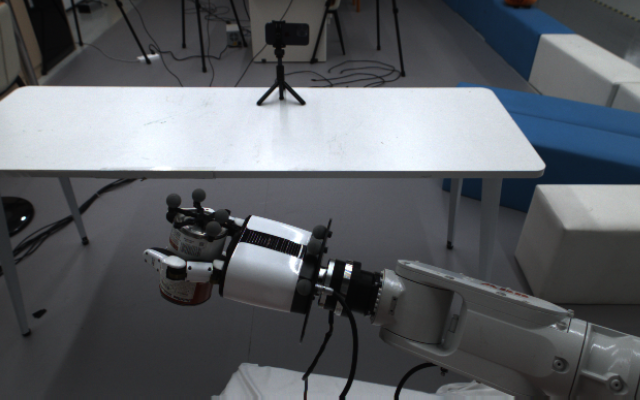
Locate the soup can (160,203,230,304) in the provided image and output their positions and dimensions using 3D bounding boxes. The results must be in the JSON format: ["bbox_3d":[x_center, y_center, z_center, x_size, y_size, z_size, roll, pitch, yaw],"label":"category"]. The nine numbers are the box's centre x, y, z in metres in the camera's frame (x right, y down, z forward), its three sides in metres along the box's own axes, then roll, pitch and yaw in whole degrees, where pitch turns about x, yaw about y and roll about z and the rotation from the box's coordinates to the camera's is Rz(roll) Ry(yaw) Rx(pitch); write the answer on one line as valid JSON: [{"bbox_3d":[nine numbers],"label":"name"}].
[{"bbox_3d":[-0.157,0.073,0.603,0.067,0.101,0.067,17,22,-7],"label":"soup can"}]
